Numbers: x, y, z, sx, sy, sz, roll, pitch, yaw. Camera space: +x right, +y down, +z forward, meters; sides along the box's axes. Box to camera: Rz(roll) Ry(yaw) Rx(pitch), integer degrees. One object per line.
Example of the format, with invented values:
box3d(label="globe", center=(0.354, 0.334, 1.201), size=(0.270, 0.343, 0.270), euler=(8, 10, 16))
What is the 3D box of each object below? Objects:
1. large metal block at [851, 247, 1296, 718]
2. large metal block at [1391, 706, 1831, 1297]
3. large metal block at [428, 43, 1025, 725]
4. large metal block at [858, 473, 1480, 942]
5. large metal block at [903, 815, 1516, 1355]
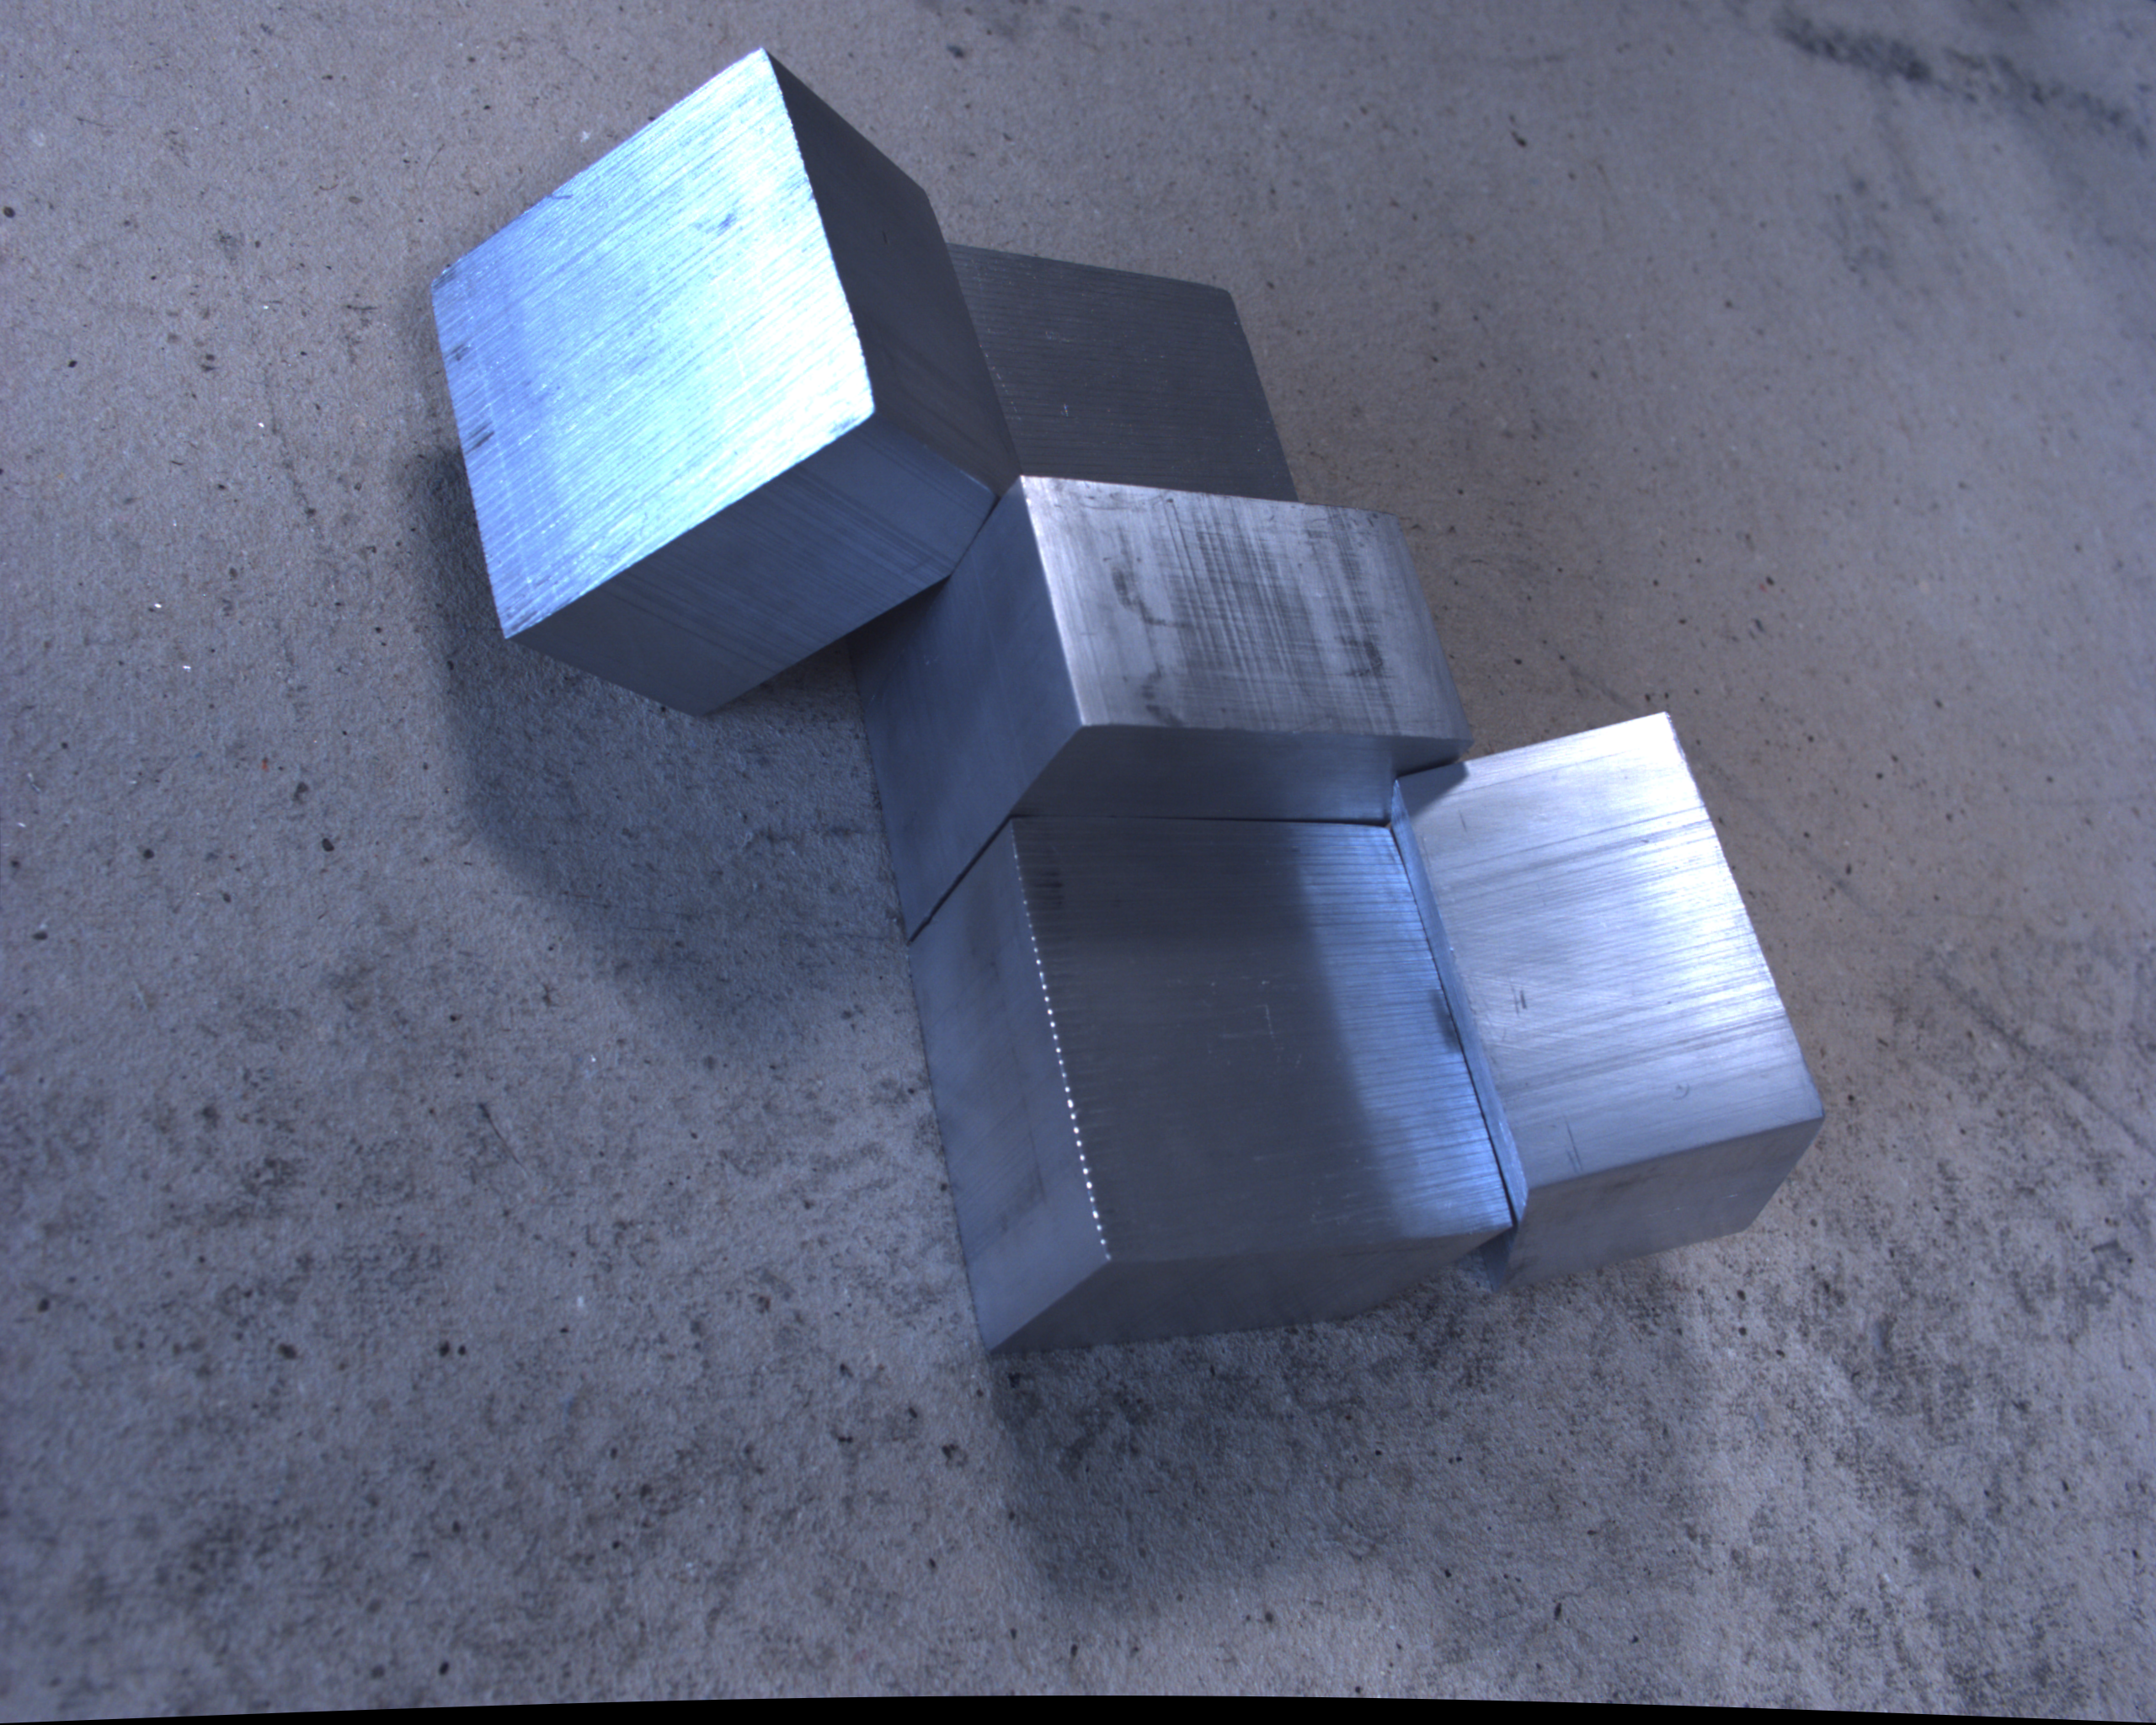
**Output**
box3d(label="large metal block", center=(-0.005, -0.076, 0.431), size=(0.081, 0.050, 0.080), euler=(0, 61, -28))
box3d(label="large metal block", center=(0.094, 0.029, 0.394), size=(0.050, 0.080, 0.080), euler=(-14, 65, 1))
box3d(label="large metal block", center=(-0.064, -0.083, 0.377), size=(0.050, 0.080, 0.080), euler=(25, 43, -58))
box3d(label="large metal block", center=(0.014, -0.025, 0.393), size=(0.081, 0.080, 0.050), euler=(0, 62, -28))
box3d(label="large metal block", center=(0.021, 0.039, 0.377), size=(0.081, 0.050, 0.080), euler=(1, 62, -28))
